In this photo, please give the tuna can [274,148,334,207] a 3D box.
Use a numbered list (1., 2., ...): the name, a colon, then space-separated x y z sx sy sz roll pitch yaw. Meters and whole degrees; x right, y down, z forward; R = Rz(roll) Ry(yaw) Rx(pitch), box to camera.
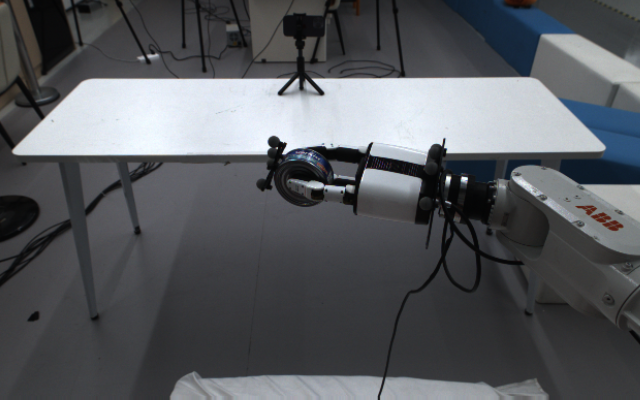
1. tuna can: -0.023 -0.028 0.720 0.085 0.085 0.034 10 35 11
